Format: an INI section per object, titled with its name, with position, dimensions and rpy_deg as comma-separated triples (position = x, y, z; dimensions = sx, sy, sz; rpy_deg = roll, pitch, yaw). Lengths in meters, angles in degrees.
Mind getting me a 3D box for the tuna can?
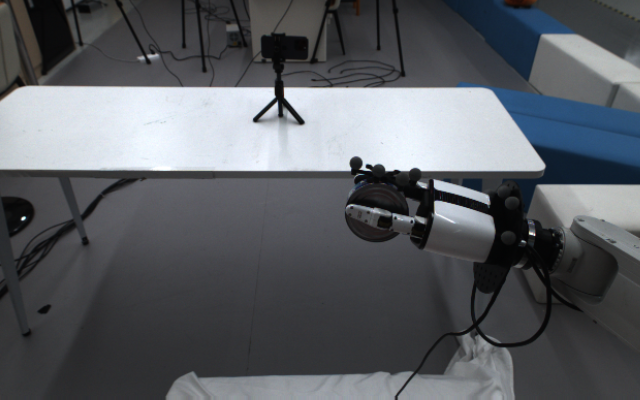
[tuna can]
position = 0.079, 0.010, 0.662
dimensions = 0.085, 0.085, 0.034
rpy_deg = 5, 18, 4
